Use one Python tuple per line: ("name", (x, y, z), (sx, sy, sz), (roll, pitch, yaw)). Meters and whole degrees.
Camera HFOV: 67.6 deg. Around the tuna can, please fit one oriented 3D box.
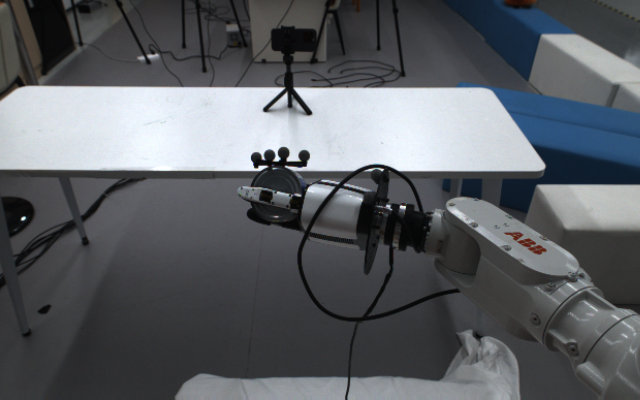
("tuna can", (-0.062, -0.008, 0.743), (0.085, 0.085, 0.034), (15, 1, 18))
